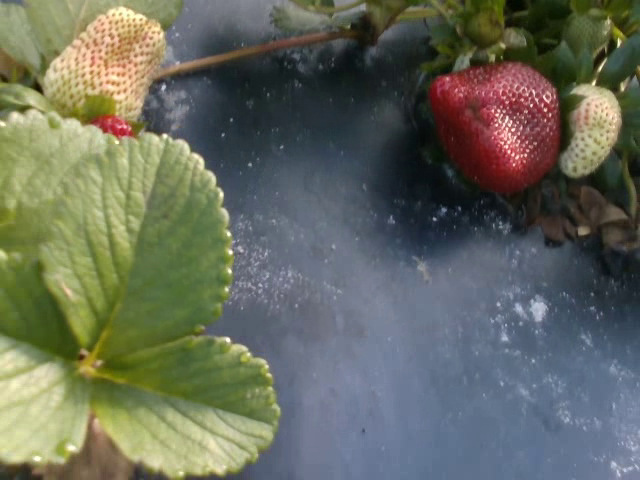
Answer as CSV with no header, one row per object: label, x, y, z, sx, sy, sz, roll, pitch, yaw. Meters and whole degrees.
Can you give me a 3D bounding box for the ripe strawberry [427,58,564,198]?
ripe strawberry,0.066,-0.045,0.240,0.057,0.058,0.070,0,-3,32
